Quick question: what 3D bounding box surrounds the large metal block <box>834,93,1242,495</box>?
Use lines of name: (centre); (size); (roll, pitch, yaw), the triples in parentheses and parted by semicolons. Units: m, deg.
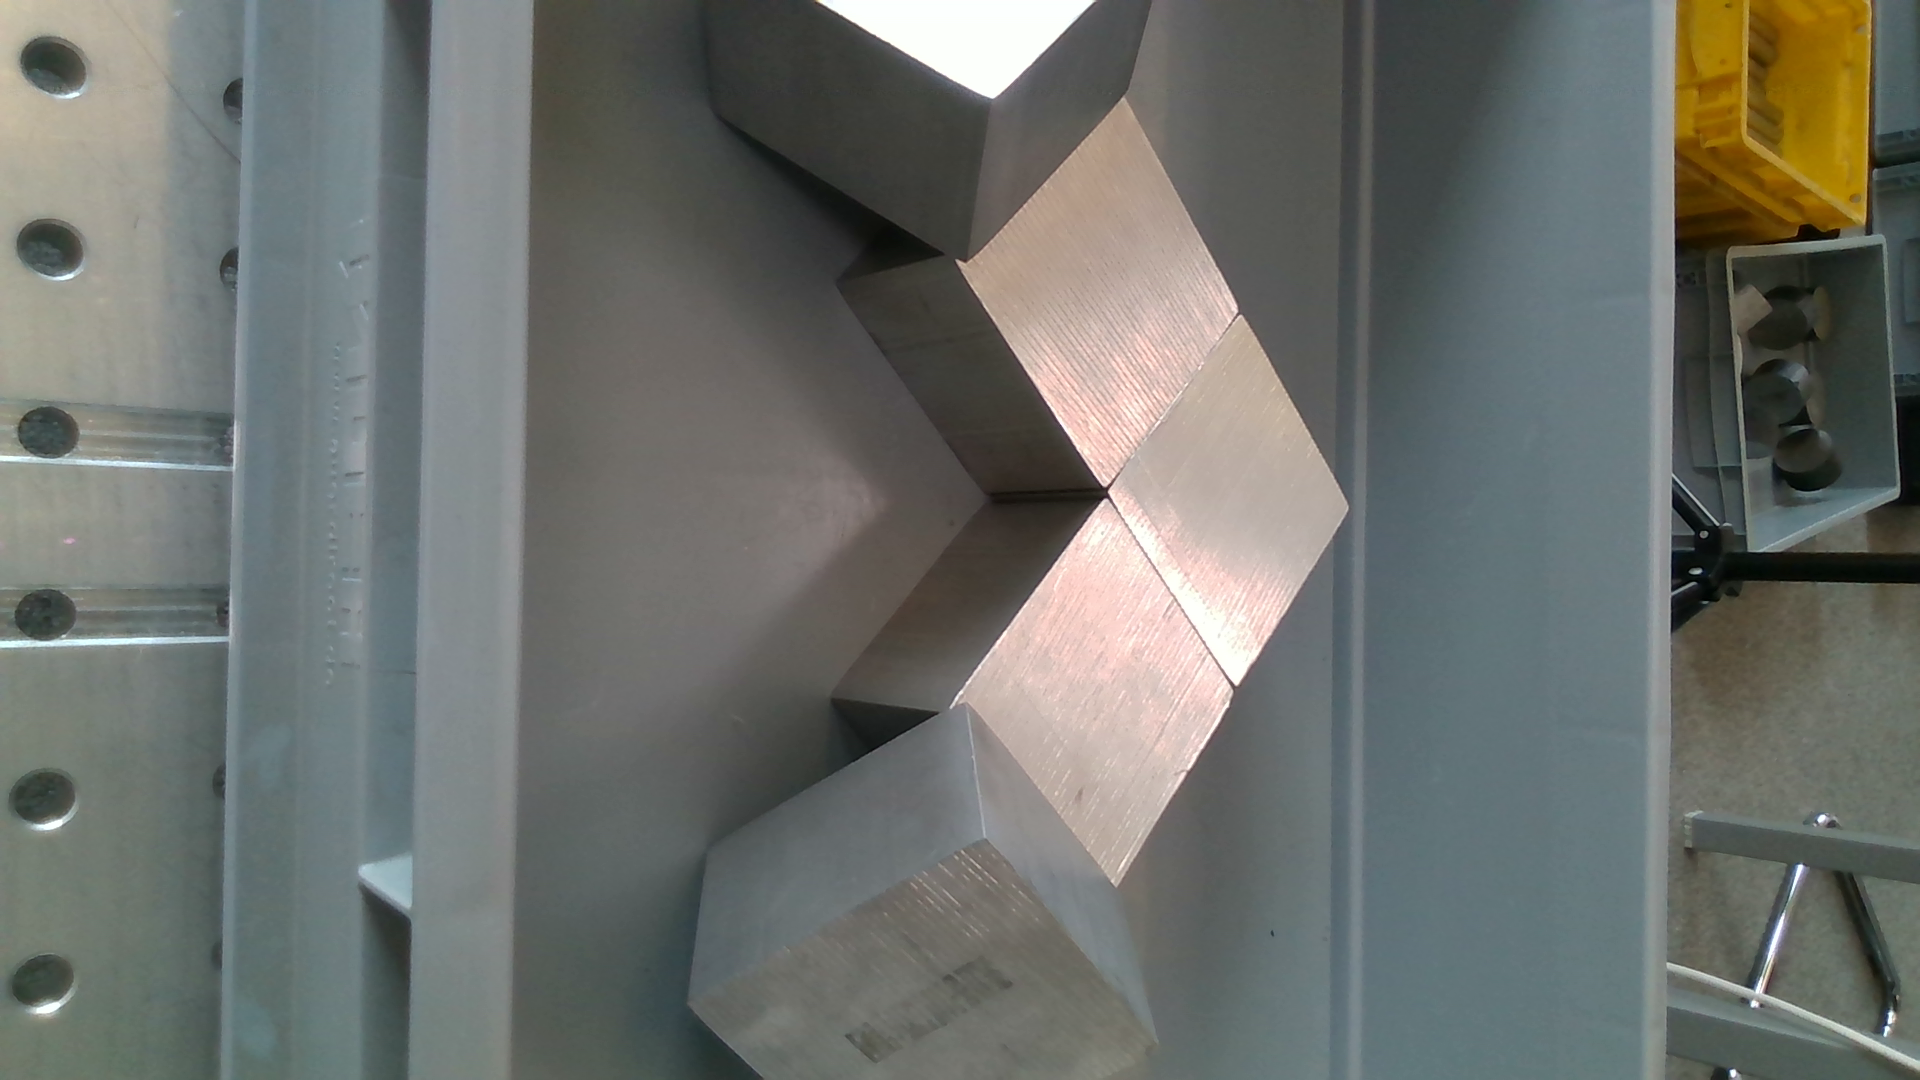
large metal block: (0.025, -0.070, 0.394); (0.080, 0.050, 0.080); (-52, 120, -28)

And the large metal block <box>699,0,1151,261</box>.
large metal block: (-0.007, -0.129, 0.339); (0.080, 0.050, 0.080); (33, 62, 11)

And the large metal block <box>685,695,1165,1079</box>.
large metal block: (-0.008, 0.099, 0.339); (0.080, 0.050, 0.080); (-31, 117, 11)

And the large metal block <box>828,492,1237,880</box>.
large metal block: (0.023, 0.044, 0.393); (0.080, 0.050, 0.080); (-52, 120, -28)

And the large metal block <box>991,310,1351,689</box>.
large metal block: (0.068, -0.012, 0.430); (0.080, 0.050, 0.080); (-52, 120, -28)
